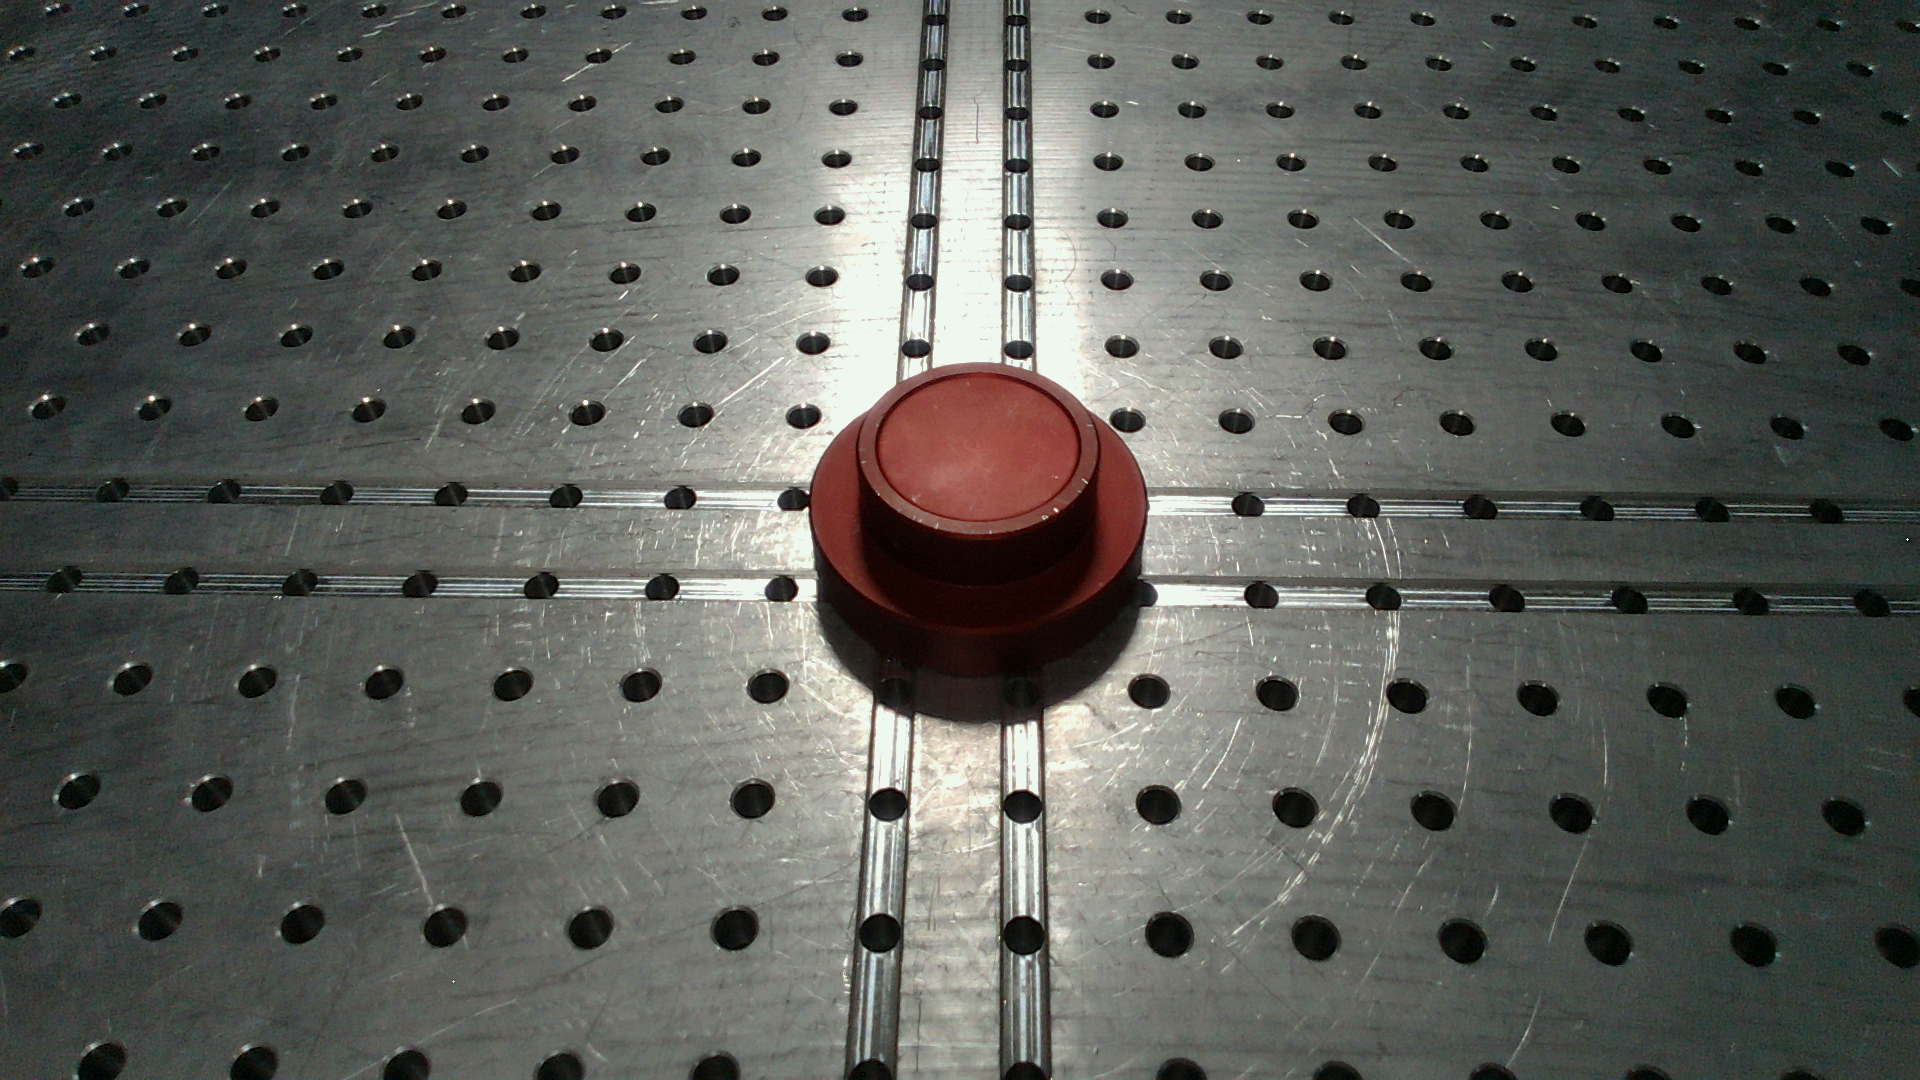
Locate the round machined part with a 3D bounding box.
[{"bbox_3d":[0.005,-0.013,0.394,0.098,0.042,0.098,0,50,0],"label":"round machined part"}]
